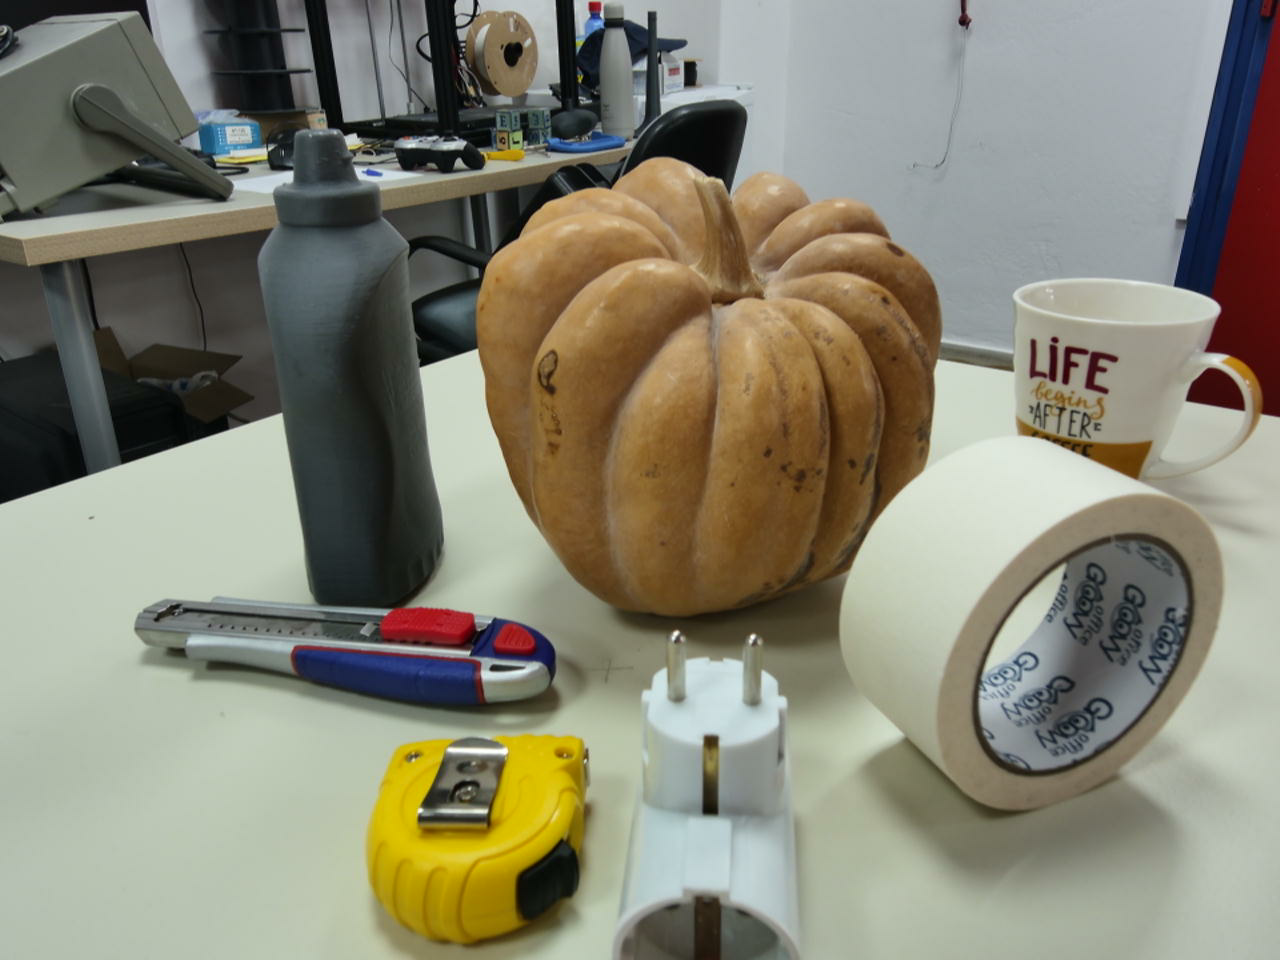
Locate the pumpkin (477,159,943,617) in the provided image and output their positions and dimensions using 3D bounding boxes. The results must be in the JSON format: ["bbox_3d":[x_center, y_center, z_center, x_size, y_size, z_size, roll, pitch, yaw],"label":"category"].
[{"bbox_3d":[0.028,-0.039,0.422,0.199,0.177,0.198,0,23,0],"label":"pumpkin"}]
